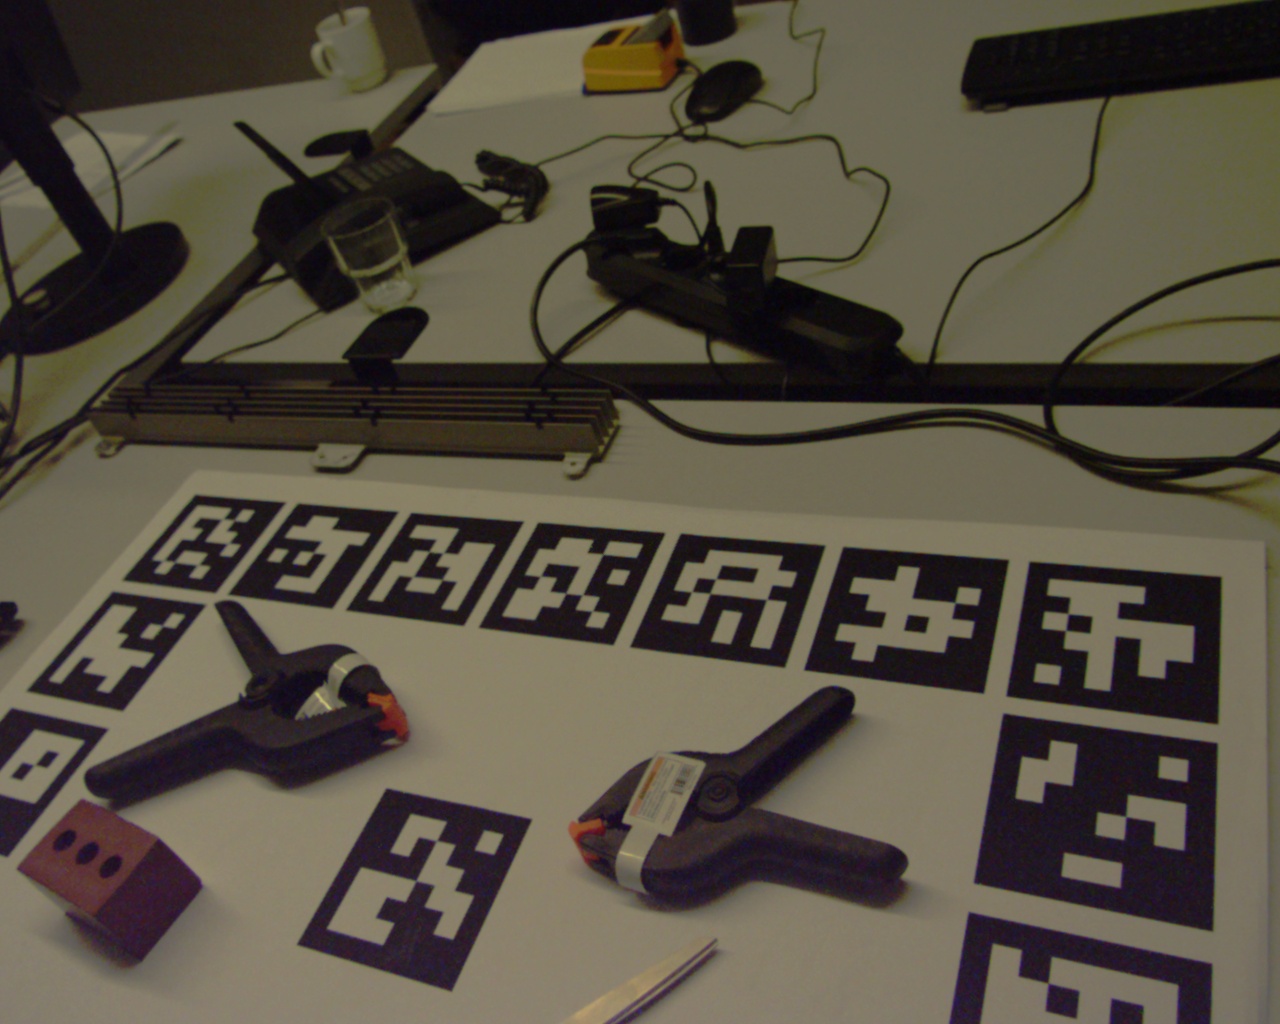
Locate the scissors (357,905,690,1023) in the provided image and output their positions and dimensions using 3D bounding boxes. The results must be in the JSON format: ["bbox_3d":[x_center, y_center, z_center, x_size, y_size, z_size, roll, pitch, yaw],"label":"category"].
[{"bbox_3d":[-0.061,0.255,0.574,0.202,0.016,0.089,-31,50,-13],"label":"scissors"}]

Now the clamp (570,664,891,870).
[{"bbox_3d":[0.043,0.153,0.636,0.165,0.036,0.122,-17,48,5],"label":"clamp"}]

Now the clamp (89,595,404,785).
[{"bbox_3d":[-0.253,0.125,0.780,0.205,0.036,0.165,1,43,22],"label":"clamp"}]

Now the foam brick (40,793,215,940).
[{"bbox_3d":[-0.315,0.217,0.699,0.079,0.051,0.052,7,49,34],"label":"foam brick"}]
